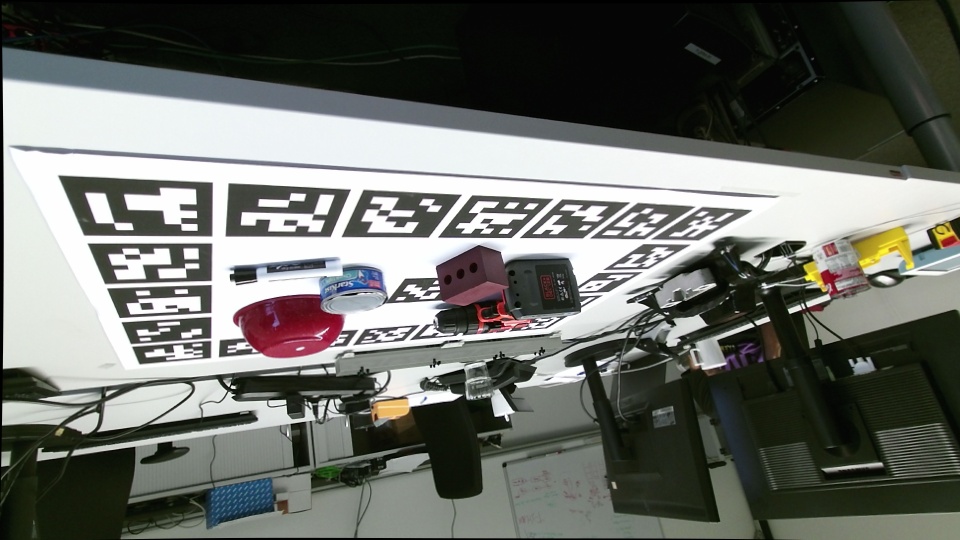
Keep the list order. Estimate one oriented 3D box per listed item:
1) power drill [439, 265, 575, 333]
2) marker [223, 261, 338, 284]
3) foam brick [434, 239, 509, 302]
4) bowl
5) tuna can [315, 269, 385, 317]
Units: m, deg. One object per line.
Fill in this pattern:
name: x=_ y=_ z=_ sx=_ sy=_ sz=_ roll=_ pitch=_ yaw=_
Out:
power drill: x=0.047 y=0.051 z=0.840 sx=0.185 sy=0.057 sz=0.187 roll=1 pitch=157 yaw=-24
marker: x=-0.222 y=0.004 z=0.602 sx=0.121 sy=0.019 sz=0.019 roll=-5 pitch=156 yaw=-18
foam brick: x=-0.011 y=0.003 z=0.697 sx=0.078 sy=0.052 sz=0.051 roll=-29 pitch=152 yaw=33
bowl: x=-0.263 y=0.086 z=0.764 sx=0.162 sy=0.055 sz=0.162 roll=-12 pitch=166 yaw=-3
tuna can: x=-0.166 y=0.030 z=0.682 sx=0.086 sy=0.033 sz=0.086 roll=-9 pitch=158 yaw=-4
